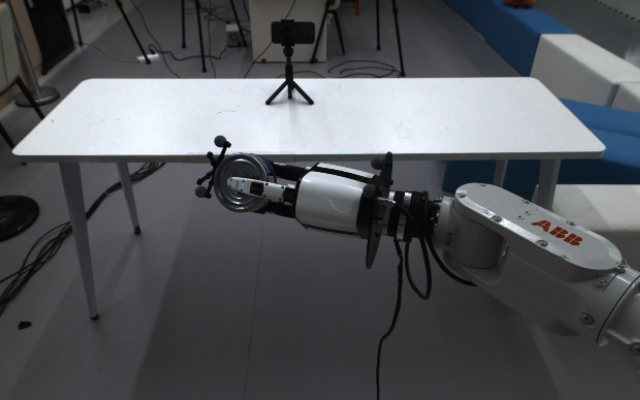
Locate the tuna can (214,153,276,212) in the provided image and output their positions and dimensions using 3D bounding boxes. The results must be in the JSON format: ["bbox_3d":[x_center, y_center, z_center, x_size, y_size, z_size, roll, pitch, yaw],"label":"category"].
[{"bbox_3d":[-0.107,-0.026,0.690,0.085,0.085,0.034,12,5,14],"label":"tuna can"}]
